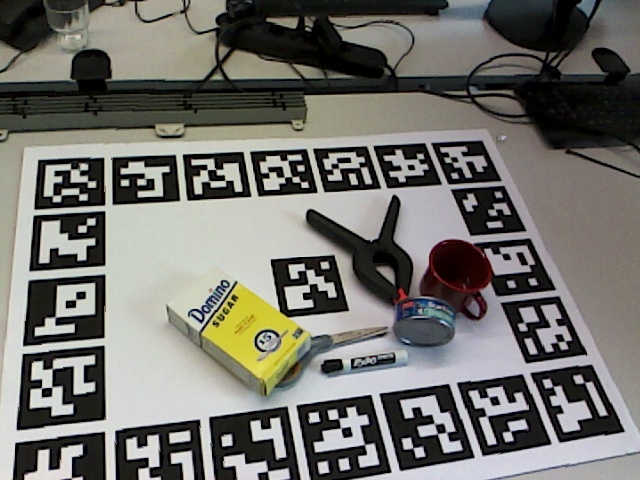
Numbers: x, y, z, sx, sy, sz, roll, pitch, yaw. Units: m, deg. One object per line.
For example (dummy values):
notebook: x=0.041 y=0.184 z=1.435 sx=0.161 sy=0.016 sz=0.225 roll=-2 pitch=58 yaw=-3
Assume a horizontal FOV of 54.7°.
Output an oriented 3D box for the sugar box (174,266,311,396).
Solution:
sugar box: x=-0.107 y=0.119 z=0.846 sx=0.177 sy=0.045 sz=0.092 roll=36 pitch=56 yaw=23

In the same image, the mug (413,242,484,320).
mug: x=0.194 y=0.071 z=0.921 sx=0.093 sy=0.081 sz=0.118 roll=-29 pitch=60 yaw=-28

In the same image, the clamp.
clamp: x=0.084 y=0.022 z=0.976 sx=0.165 sy=0.036 sz=0.204 roll=-13 pitch=58 yaw=-19

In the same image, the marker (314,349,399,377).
marker: x=0.050 y=0.170 z=0.858 sx=0.121 sy=0.019 sz=0.020 roll=-8 pitch=57 yaw=-15

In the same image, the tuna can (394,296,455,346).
tuna can: x=0.147 y=0.116 z=0.874 sx=0.085 sy=0.085 sz=0.034 roll=10 pitch=53 yaw=-3

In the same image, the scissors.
scissors: x=-0.002 y=0.139 z=0.869 sx=0.202 sy=0.016 sz=0.088 roll=-13 pitch=53 yaw=-20
